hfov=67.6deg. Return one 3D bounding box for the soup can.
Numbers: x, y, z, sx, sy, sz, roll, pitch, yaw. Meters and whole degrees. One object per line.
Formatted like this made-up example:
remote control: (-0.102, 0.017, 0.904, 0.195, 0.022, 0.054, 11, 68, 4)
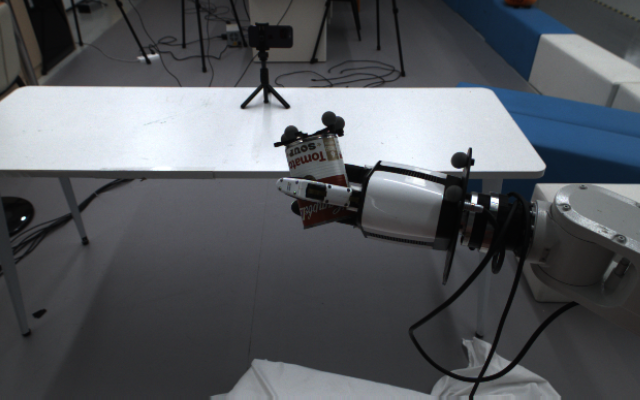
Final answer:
soup can: (0.002, -0.022, 0.587, 0.067, 0.101, 0.067, -14, -2, -1)
